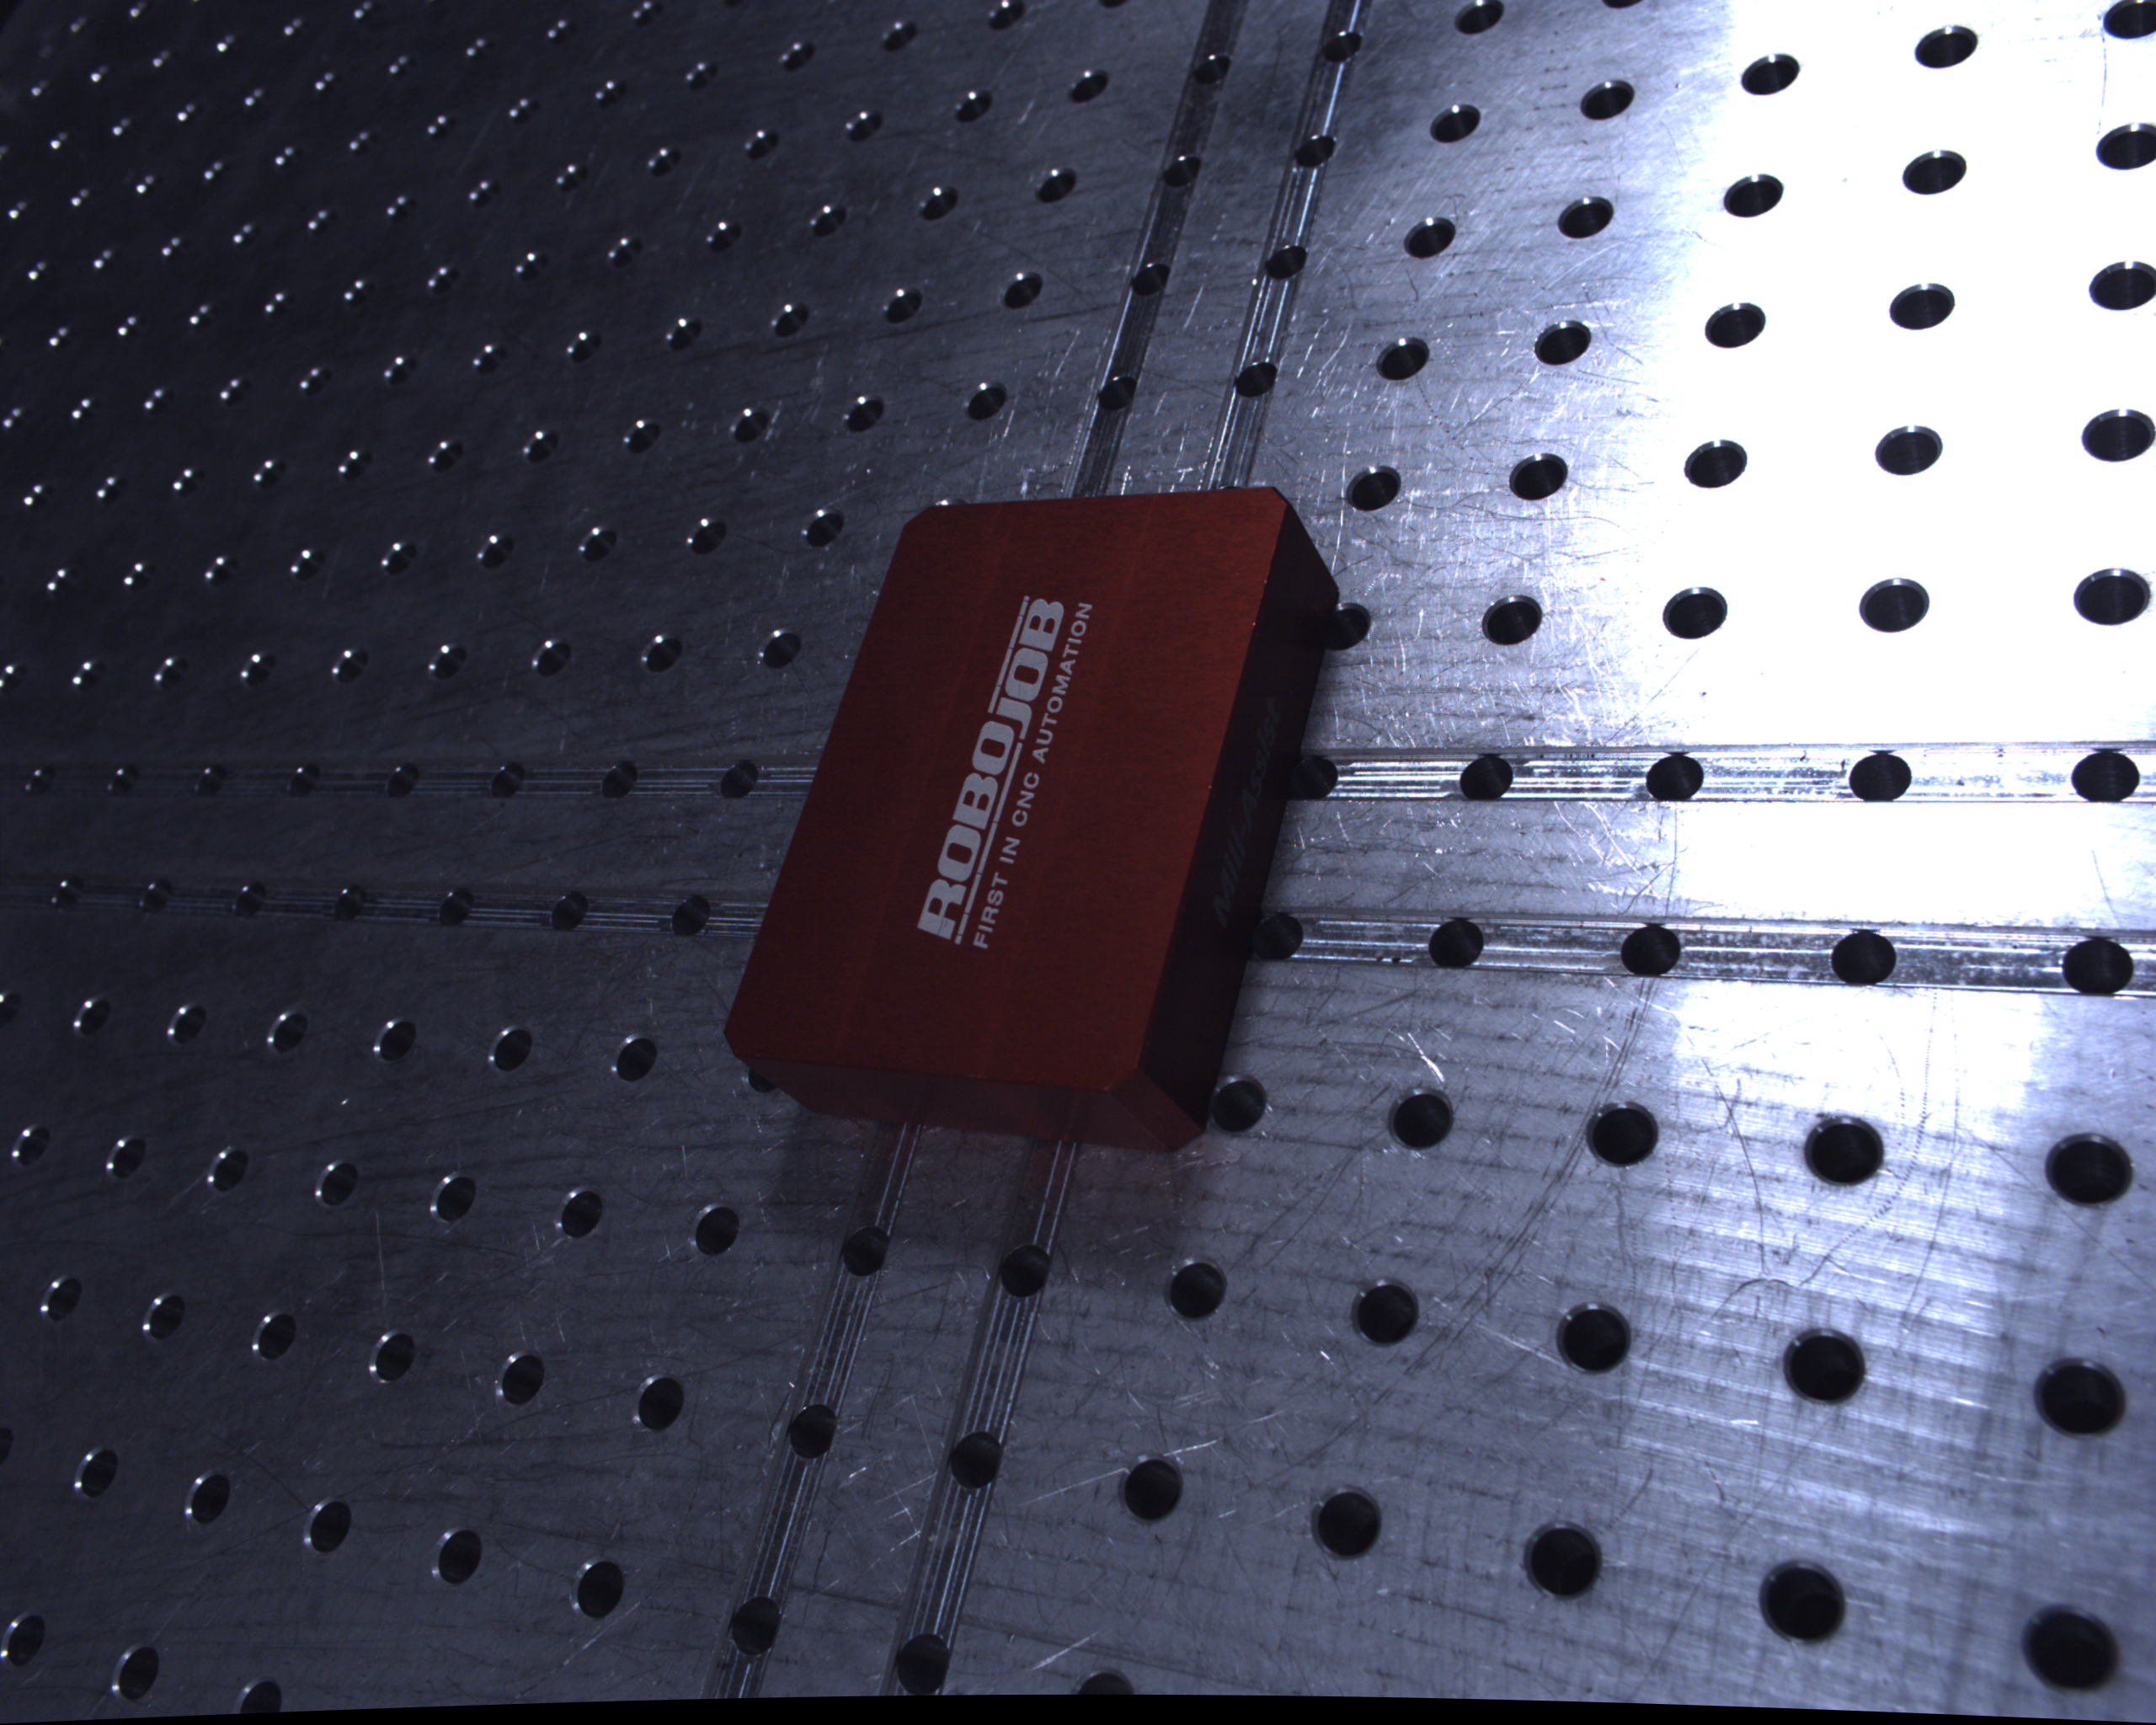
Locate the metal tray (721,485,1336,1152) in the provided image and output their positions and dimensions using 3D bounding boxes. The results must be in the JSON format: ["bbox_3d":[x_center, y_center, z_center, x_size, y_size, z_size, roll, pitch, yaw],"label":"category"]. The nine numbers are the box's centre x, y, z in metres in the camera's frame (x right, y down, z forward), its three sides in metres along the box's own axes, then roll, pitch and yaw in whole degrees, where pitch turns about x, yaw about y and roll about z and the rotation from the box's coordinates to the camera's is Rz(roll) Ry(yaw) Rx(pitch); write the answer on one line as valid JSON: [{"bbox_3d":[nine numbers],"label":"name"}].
[{"bbox_3d":[-0.008,-0.012,0.414,0.090,0.030,0.130,2,63,29],"label":"metal tray"}]
